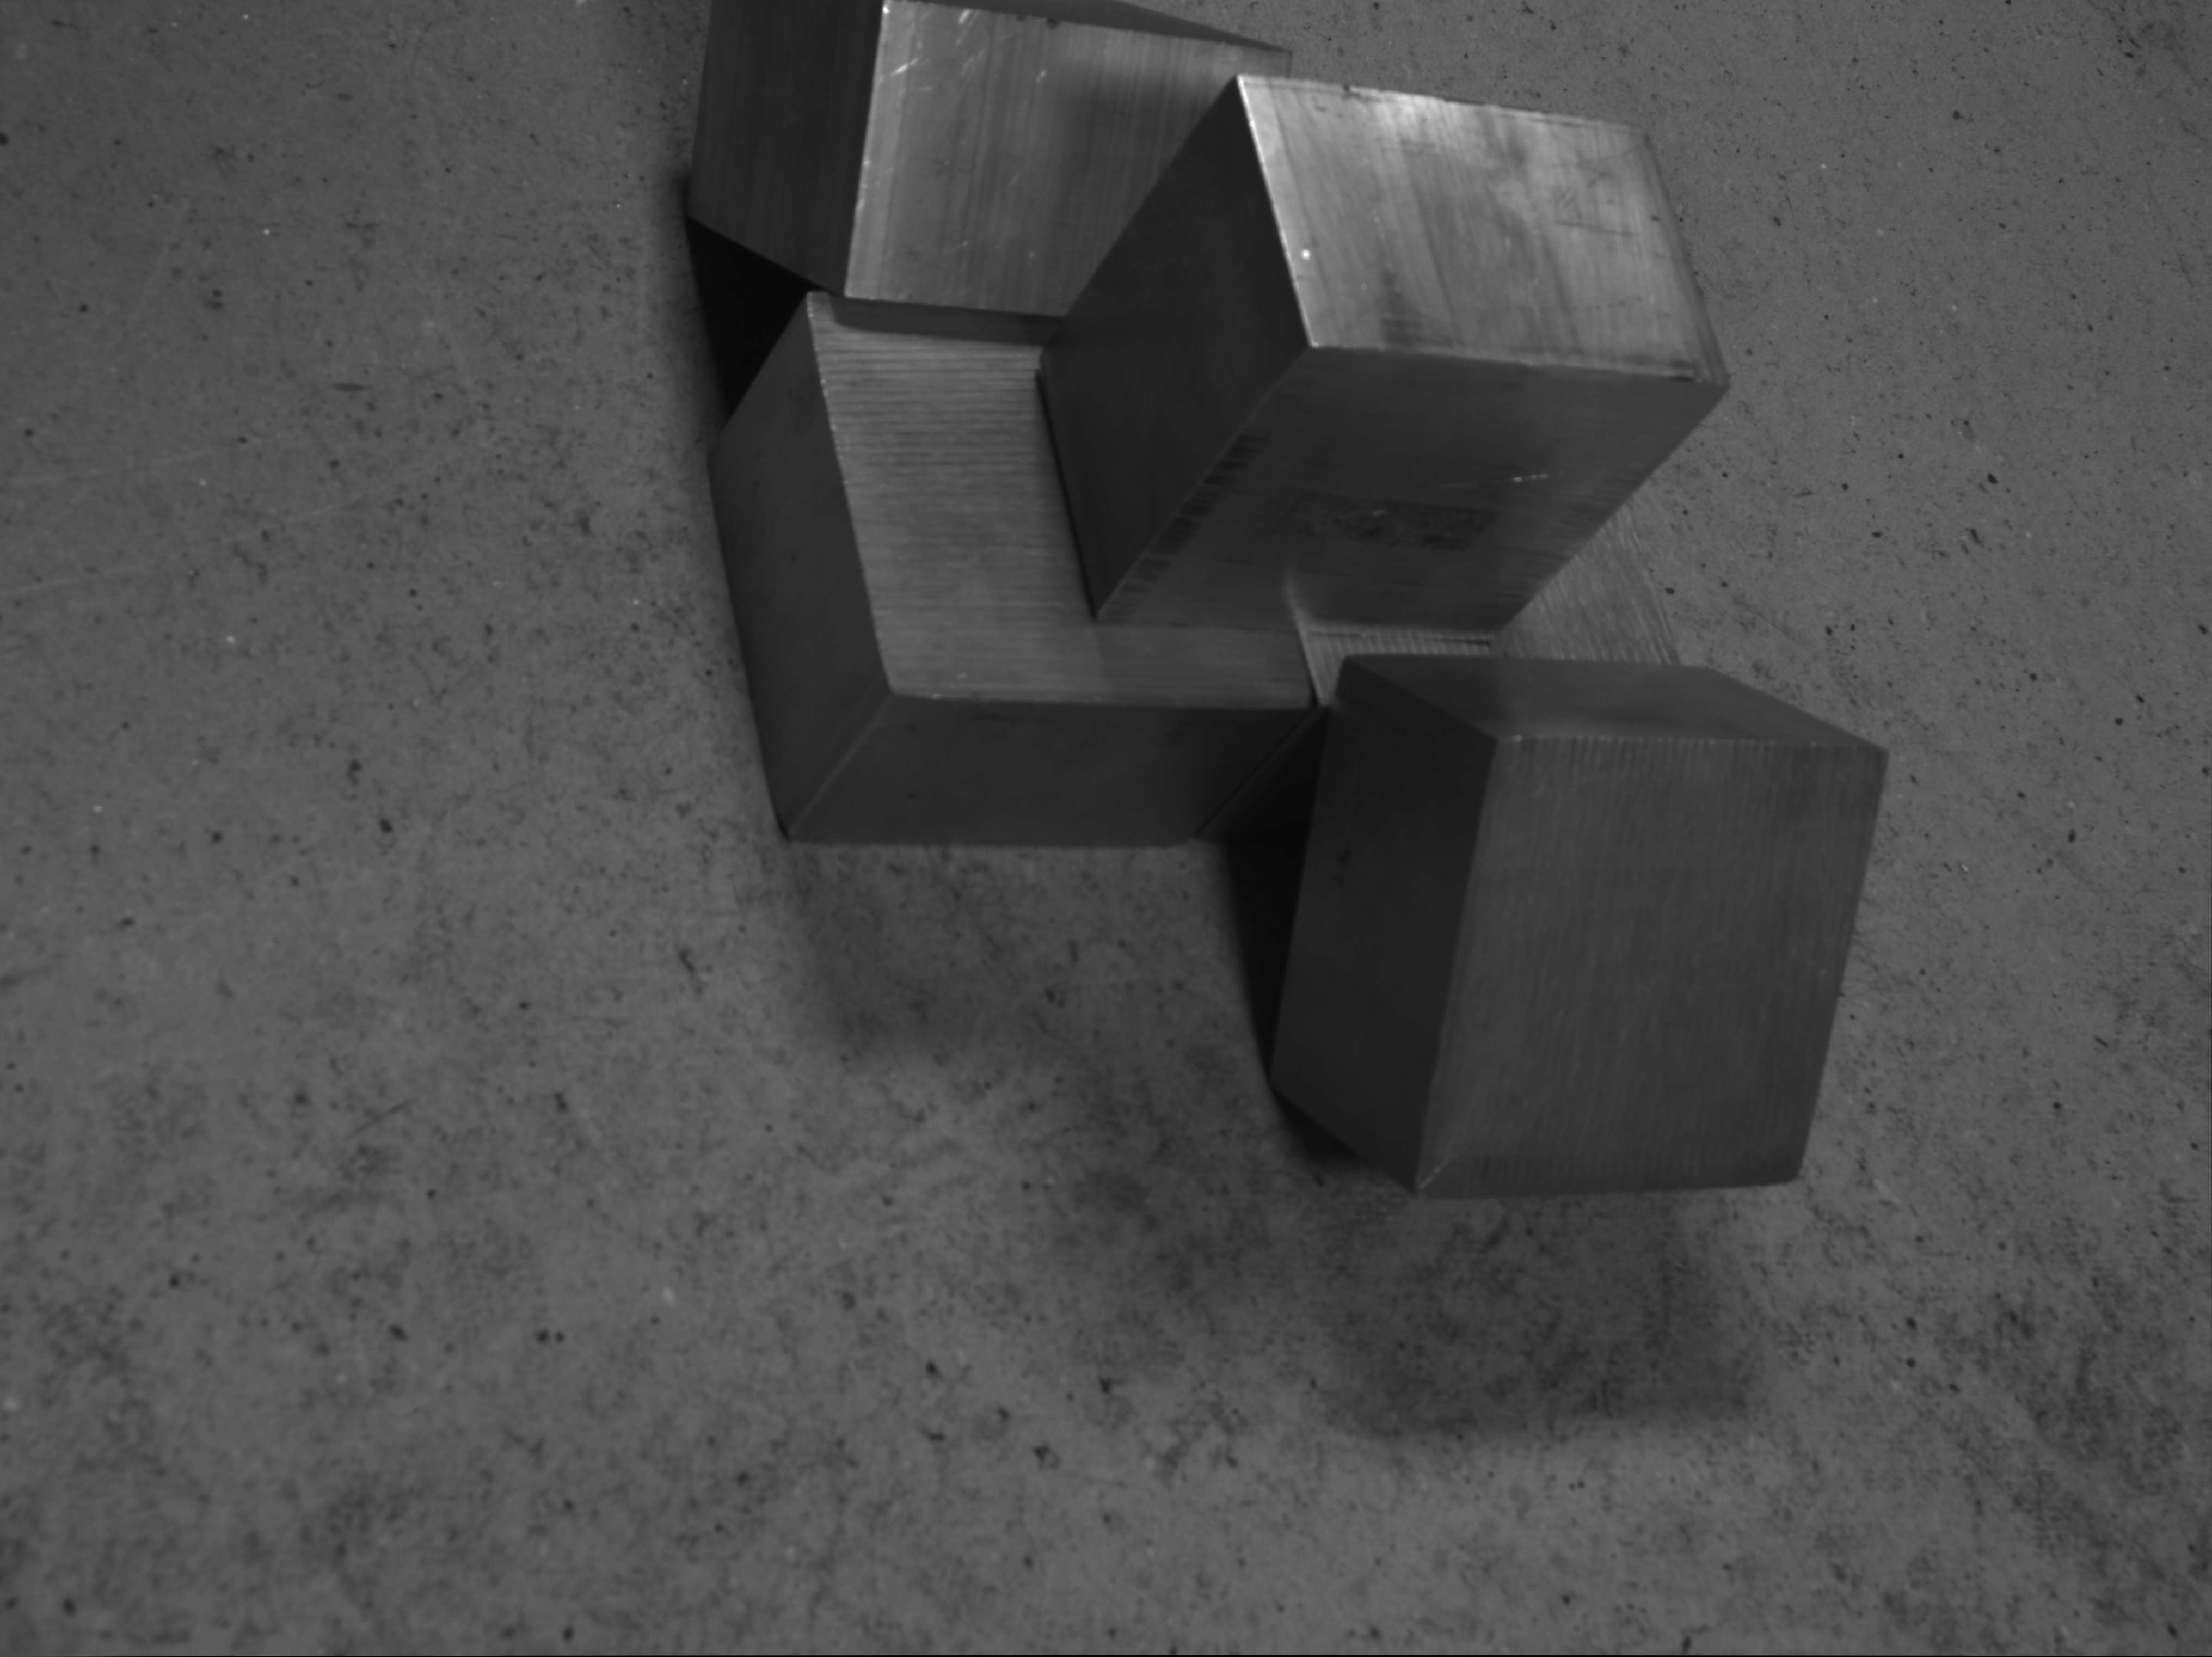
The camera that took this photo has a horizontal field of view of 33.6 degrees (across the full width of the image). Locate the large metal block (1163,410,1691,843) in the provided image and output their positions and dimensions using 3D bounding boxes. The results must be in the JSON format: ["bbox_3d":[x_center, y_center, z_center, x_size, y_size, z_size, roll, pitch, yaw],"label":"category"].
[{"bbox_3d":[0.055,-0.044,0.678,0.080,0.050,0.080,1,61,-28],"label":"large metal block"}]

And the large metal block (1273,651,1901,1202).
[{"bbox_3d":[0.082,0.016,0.631,0.080,0.080,0.050,1,17,-28],"label":"large metal block"}]

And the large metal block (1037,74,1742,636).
[{"bbox_3d":[0.045,-0.076,0.611,0.080,0.080,0.050,1,61,-27],"label":"large metal block"}]

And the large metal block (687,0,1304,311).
[{"bbox_3d":[-0.022,-0.126,0.662,0.080,0.050,0.080,0,18,-27],"label":"large metal block"}]

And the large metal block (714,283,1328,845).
[{"bbox_3d":[-0.016,-0.045,0.640,0.080,0.050,0.080,1,61,-28],"label":"large metal block"}]
